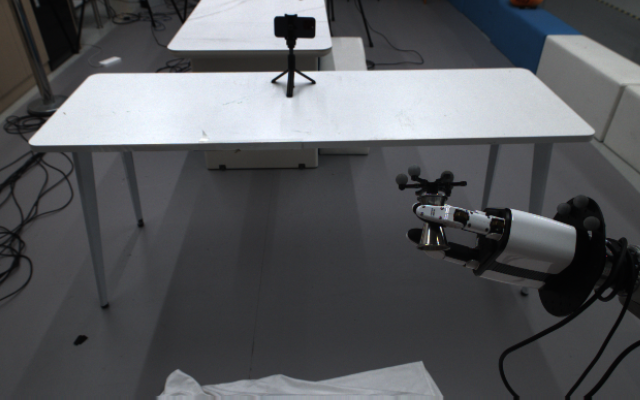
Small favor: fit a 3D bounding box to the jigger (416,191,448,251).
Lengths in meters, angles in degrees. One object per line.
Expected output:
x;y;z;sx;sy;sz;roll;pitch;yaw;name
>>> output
0.146;0.028;0.631;0.043;0.043;0.071;3;76;1;jigger
